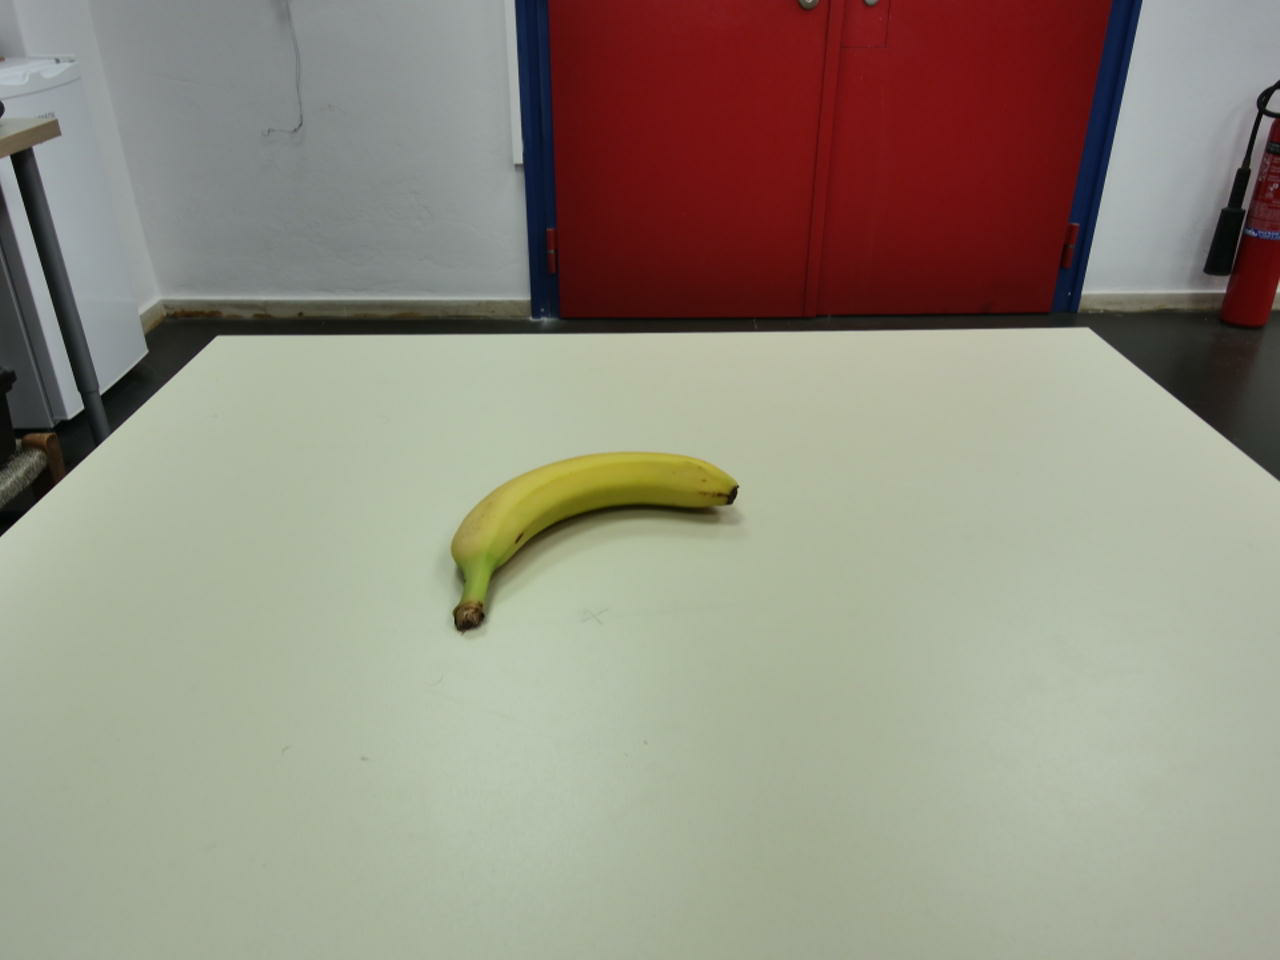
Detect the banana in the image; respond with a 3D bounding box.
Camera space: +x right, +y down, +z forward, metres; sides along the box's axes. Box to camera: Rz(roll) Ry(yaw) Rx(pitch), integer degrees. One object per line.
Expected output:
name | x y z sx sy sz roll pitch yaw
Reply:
banana | -0.040 0.019 0.597 0.196 0.041 0.094 -18 31 -32
